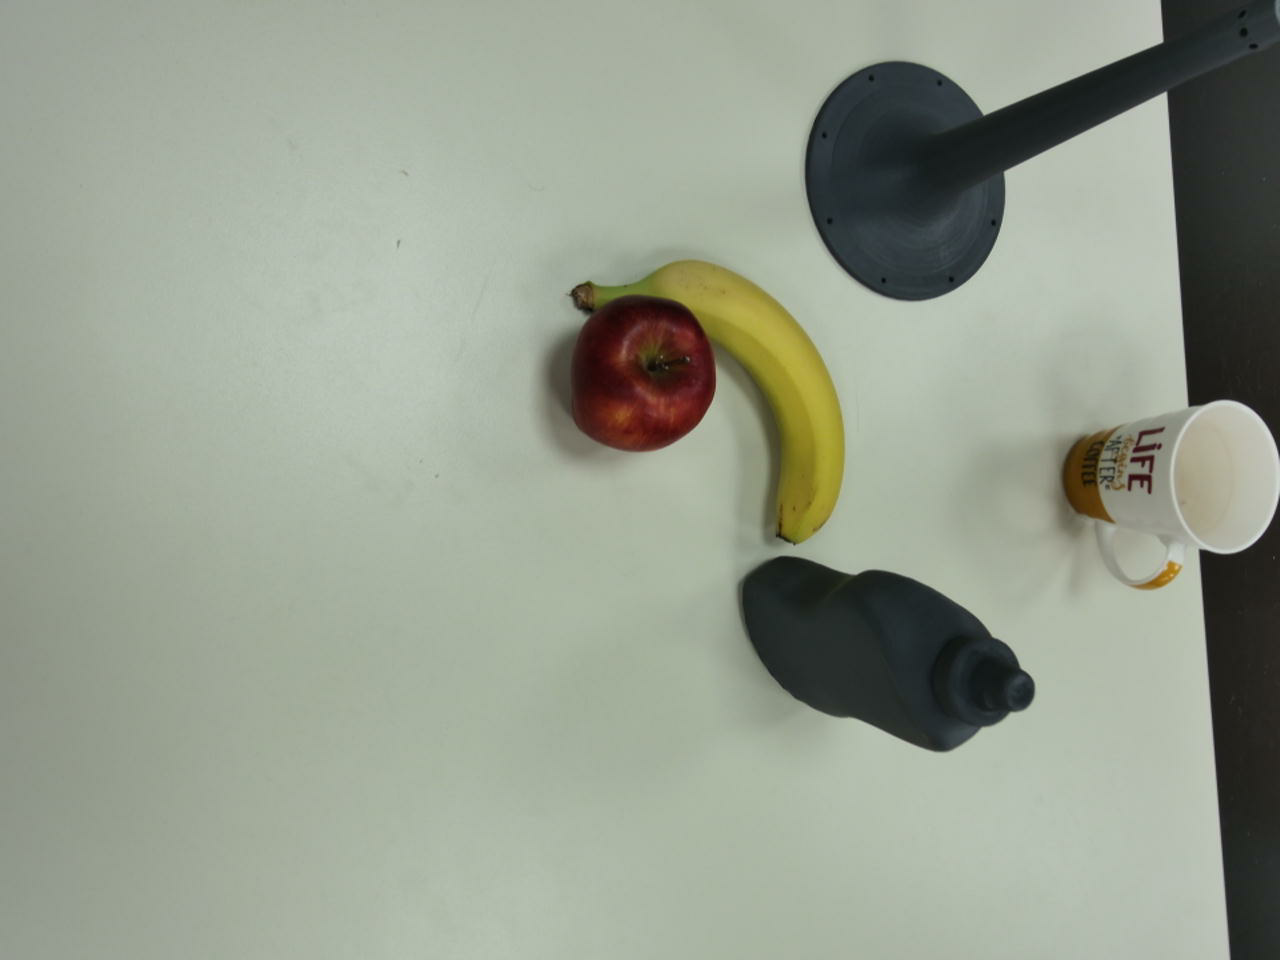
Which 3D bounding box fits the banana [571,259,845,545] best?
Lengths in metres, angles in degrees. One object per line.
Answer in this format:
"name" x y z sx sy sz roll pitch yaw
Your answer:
"banana" 0.059 -0.061 0.575 0.094 0.041 0.196 -44 105 -16
